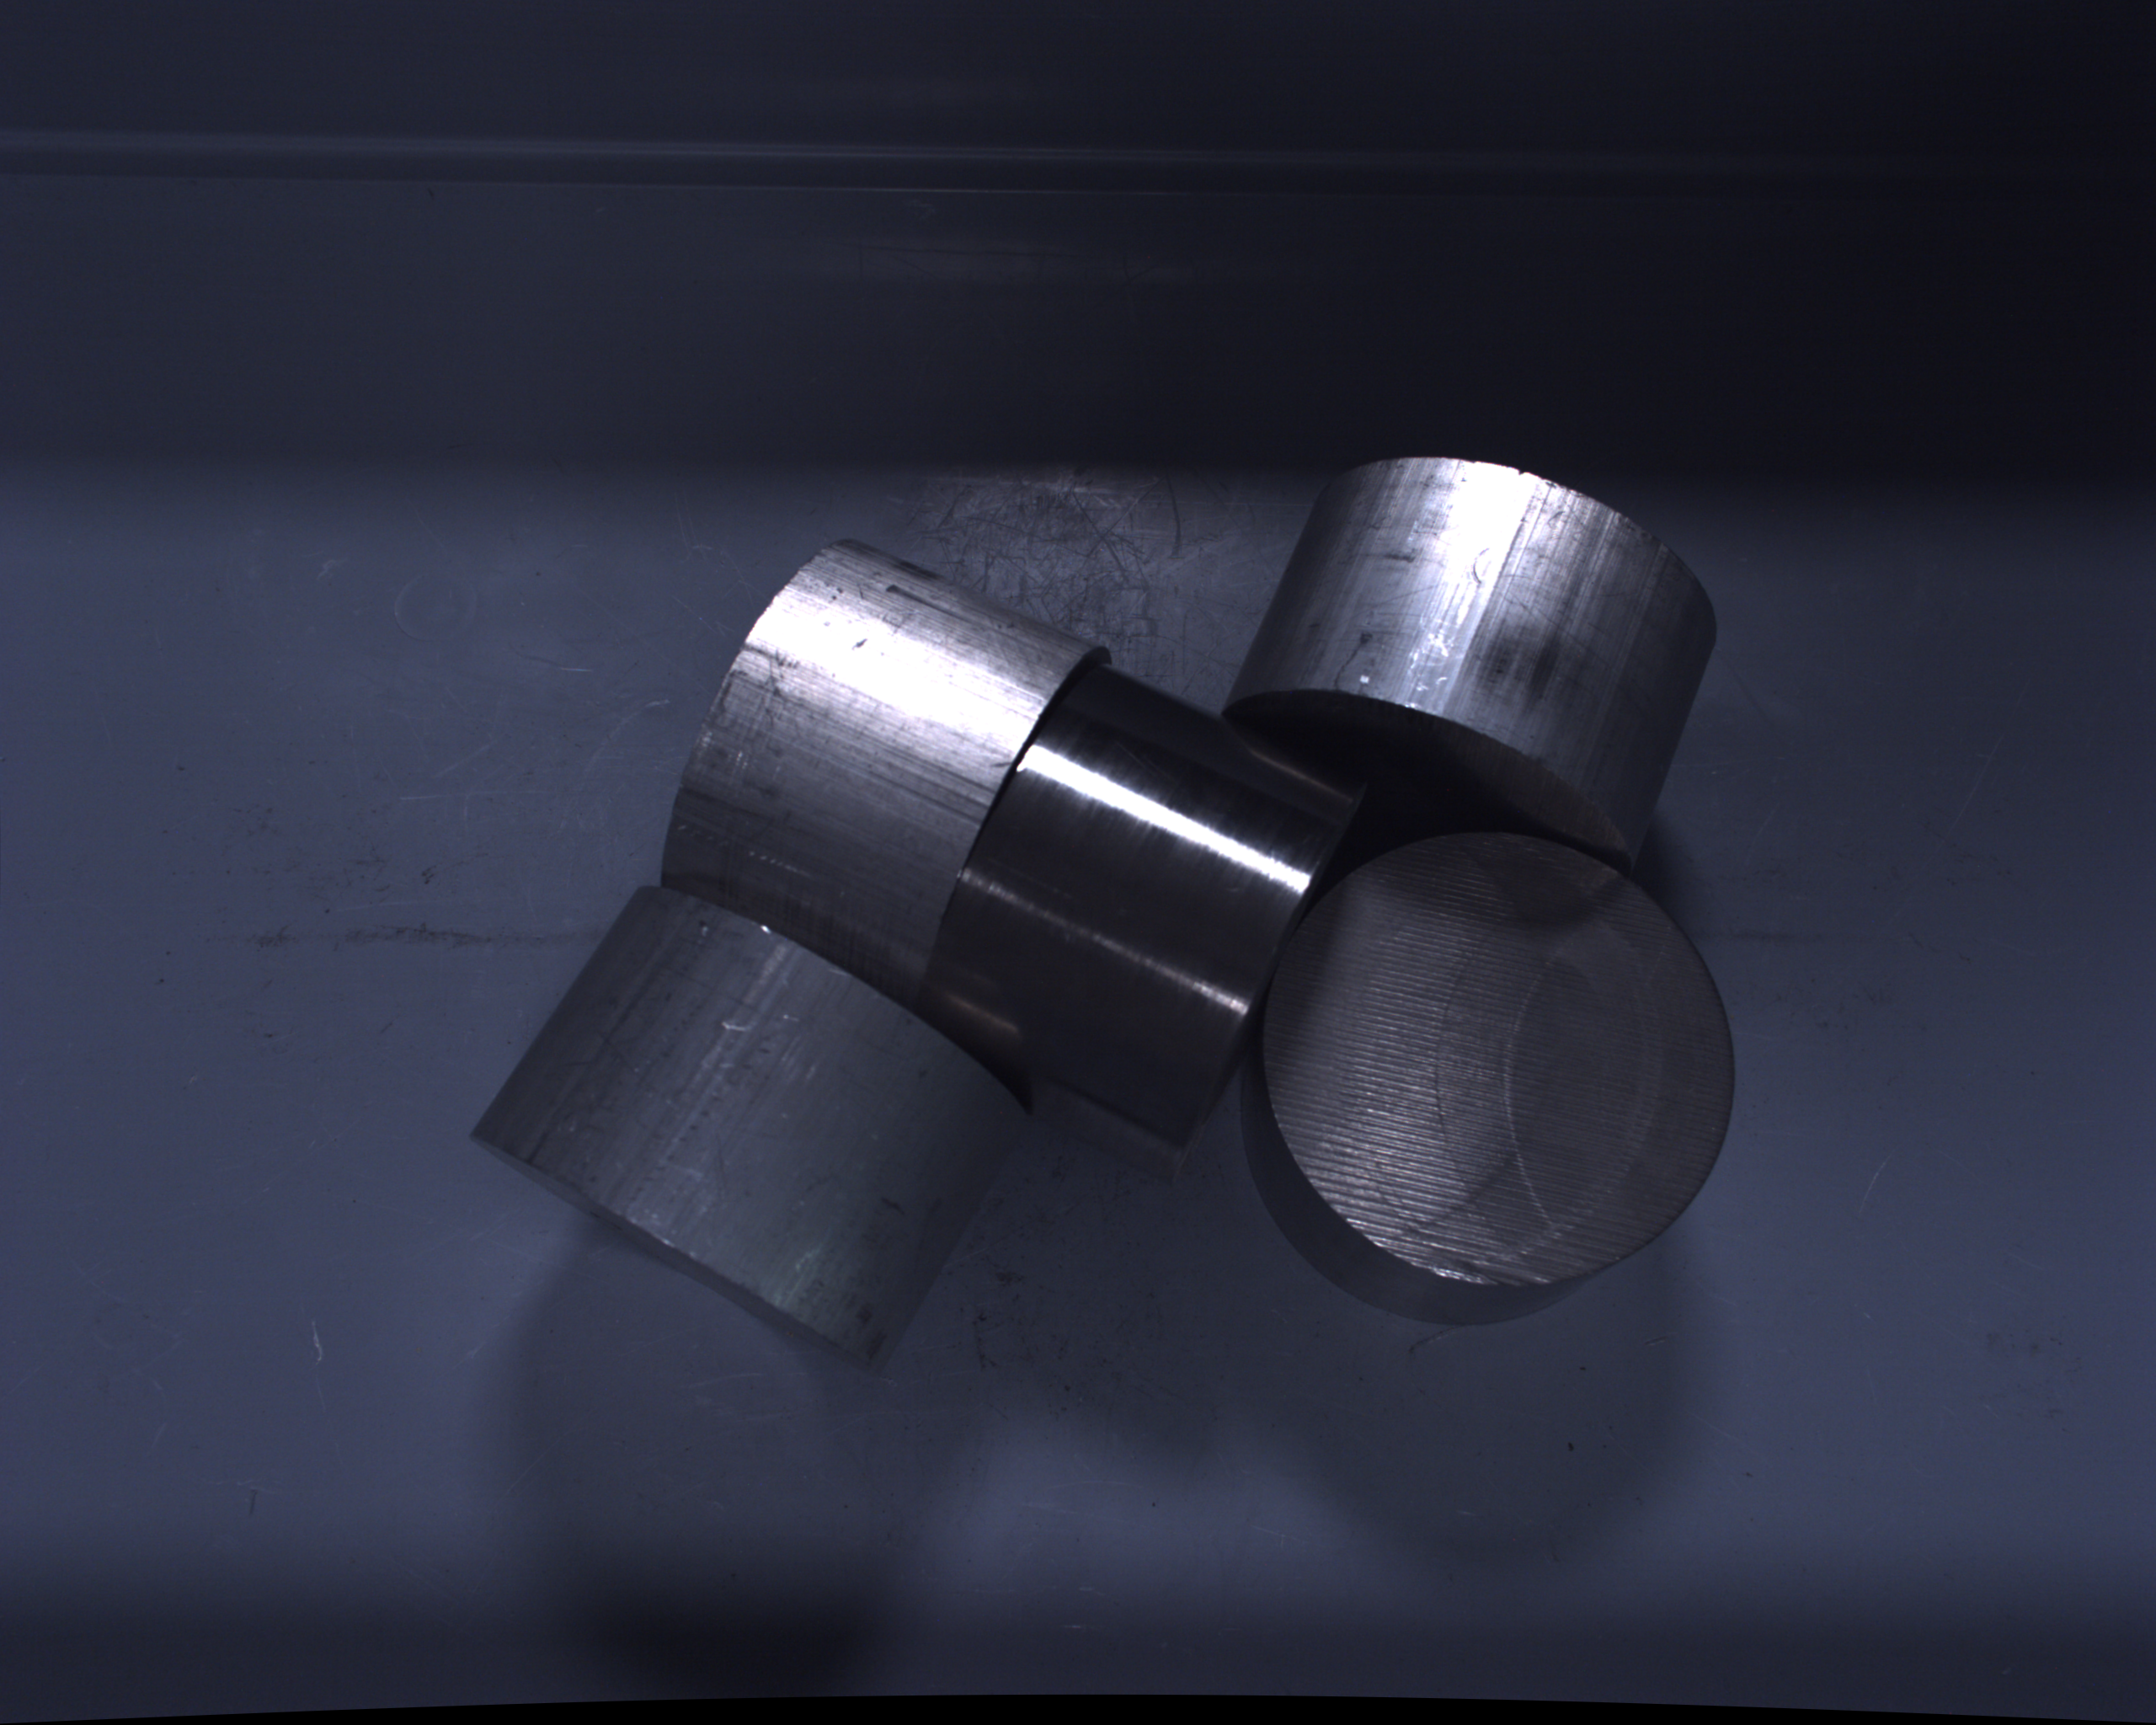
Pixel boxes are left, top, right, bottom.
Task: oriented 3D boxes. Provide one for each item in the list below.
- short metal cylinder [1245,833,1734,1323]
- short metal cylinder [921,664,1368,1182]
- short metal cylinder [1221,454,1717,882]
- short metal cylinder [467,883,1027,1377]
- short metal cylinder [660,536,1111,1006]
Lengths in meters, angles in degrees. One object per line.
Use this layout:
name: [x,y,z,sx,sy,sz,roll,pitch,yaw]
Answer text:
short metal cylinder: [0.072,0.040,0.380,0.081,0.050,0.080,0,70,0]
short metal cylinder: [0.012,0.011,0.375,0.050,0.080,0.080,25,72,8]
short metal cylinder: [0.072,-0.032,0.391,0.080,0.080,0.050,22,72,7]
short metal cylinder: [-0.056,0.047,0.361,0.080,0.080,0.050,28,72,9]
short metal cylinder: [-0.034,-0.013,0.383,0.050,0.080,0.080,24,72,8]
